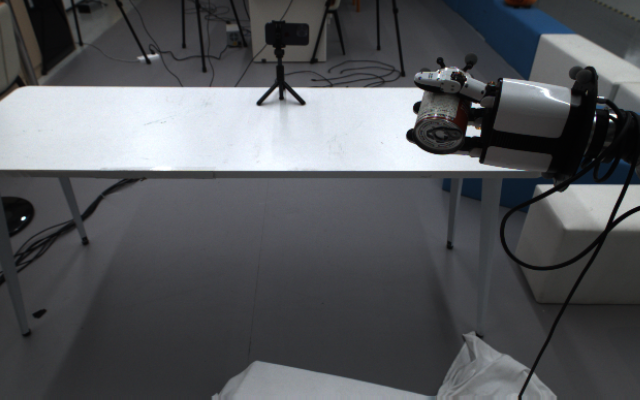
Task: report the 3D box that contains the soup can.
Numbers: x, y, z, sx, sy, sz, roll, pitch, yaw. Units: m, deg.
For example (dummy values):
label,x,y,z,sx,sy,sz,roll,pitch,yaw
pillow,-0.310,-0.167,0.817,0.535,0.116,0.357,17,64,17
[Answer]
label,x,y,z,sx,sy,sz,roll,pitch,yaw
soup can,0.168,-0.124,0.654,0.067,0.067,0.101,12,59,14
